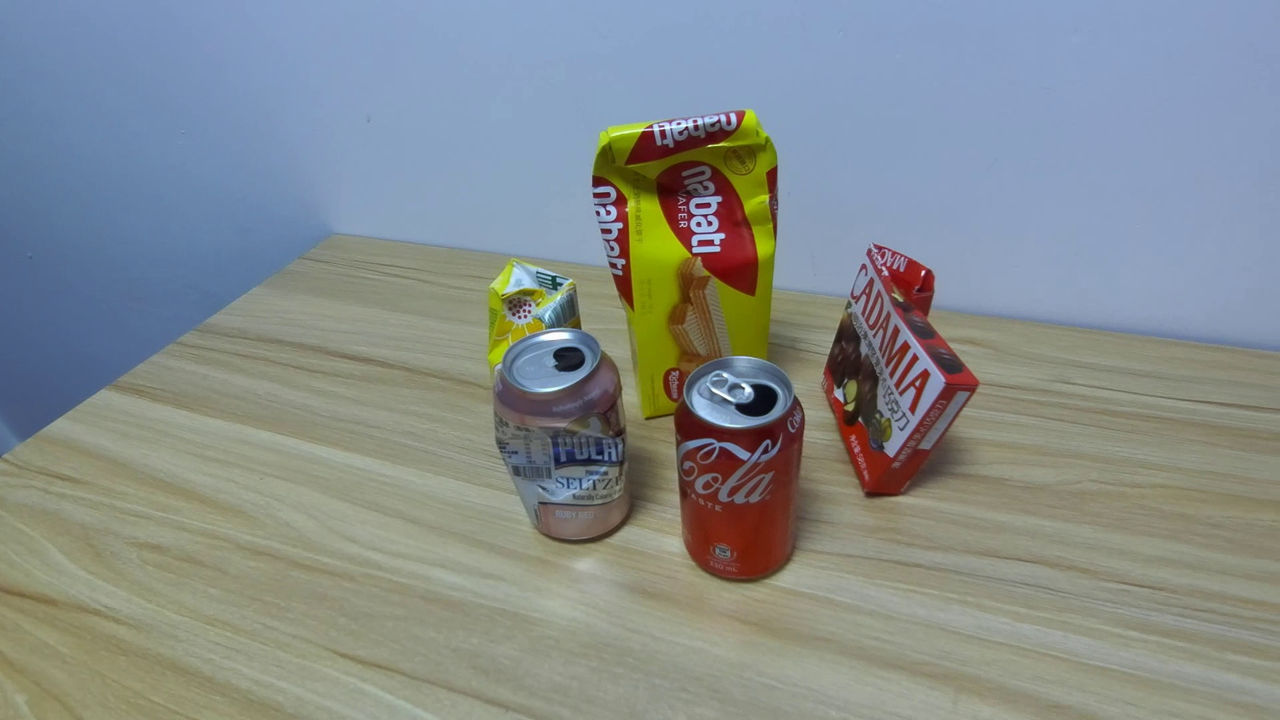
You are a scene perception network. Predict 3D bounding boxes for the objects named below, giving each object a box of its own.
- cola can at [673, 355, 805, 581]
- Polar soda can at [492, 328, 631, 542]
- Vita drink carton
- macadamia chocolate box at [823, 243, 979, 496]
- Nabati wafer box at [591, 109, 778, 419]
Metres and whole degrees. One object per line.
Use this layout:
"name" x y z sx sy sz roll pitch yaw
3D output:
"cola can" 0.054 0.060 0.383 0.068 0.120 0.067 -4 38 3
"Polar soda can" -0.040 0.047 0.411 0.074 0.122 0.067 25 47 35
"Vita drink carton" -0.076 -0.007 0.496 0.071 0.110 0.046 22 42 33
"macadamia chocolate box" 0.159 0.005 0.448 0.056 0.112 0.126 -2 37 2
"Nabati wafer box" 0.035 -0.055 0.463 0.113 0.205 0.042 -10 36 -3
